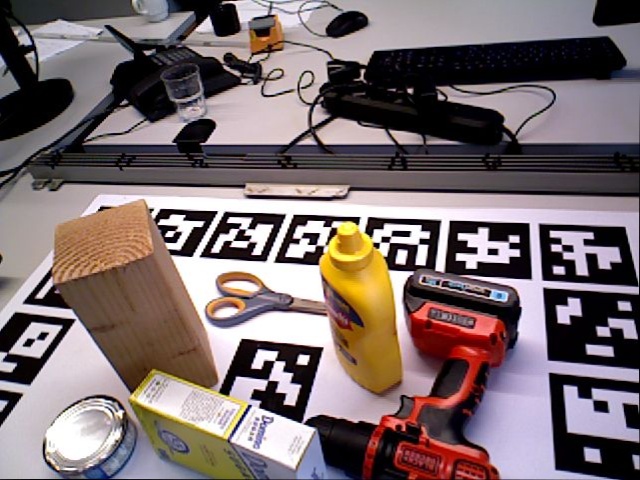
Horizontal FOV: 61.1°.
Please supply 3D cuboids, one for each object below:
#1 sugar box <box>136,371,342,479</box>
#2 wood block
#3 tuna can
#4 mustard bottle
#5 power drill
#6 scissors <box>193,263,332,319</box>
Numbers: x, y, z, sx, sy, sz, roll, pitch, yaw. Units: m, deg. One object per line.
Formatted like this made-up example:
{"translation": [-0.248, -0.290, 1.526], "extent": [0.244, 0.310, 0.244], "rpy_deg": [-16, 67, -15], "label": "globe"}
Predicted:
{"translation": [-0.071, 0.179, 0.486], "extent": [0.177, 0.095, 0.044], "rpy_deg": [12, 45, 22], "label": "sugar box"}
{"translation": [-0.178, 0.071, 0.552], "extent": [0.090, 0.210, 0.089], "rpy_deg": [-18, 45, -6], "label": "wood block"}
{"translation": [-0.229, 0.198, 0.542], "extent": [0.086, 0.034, 0.084], "rpy_deg": [-7, 45, 6], "label": "tuna can"}
{"translation": [0.042, 0.055, 0.522], "extent": [0.058, 0.195, 0.096], "rpy_deg": [-27, 46, -14], "label": "mustard bottle"}
{"translation": [0.086, 0.134, 0.516], "extent": [0.185, 0.058, 0.183], "rpy_deg": [12, 56, 25], "label": "power drill"}
{"translation": [-0.068, 0.066, 0.655], "extent": [0.203, 0.016, 0.086], "rpy_deg": [3, 42, 17], "label": "scissors"}
